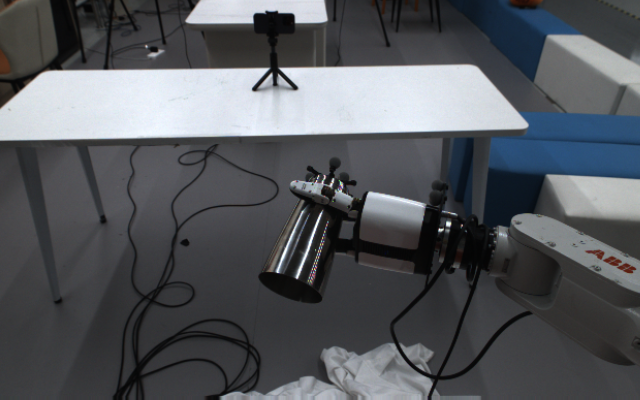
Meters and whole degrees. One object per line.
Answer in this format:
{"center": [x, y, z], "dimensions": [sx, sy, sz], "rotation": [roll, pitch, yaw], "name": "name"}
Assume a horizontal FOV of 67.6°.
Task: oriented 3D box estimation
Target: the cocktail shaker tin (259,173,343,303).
{"center": [-0.014, 0.047, 0.690], "dimensions": [0.093, 0.093, 0.170], "rotation": [13, 59, 16], "name": "cocktail shaker tin"}
